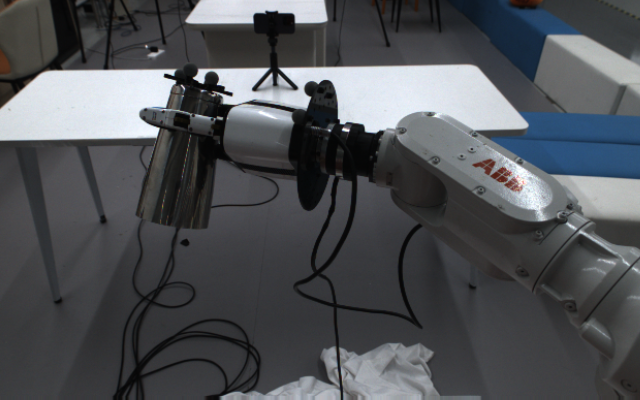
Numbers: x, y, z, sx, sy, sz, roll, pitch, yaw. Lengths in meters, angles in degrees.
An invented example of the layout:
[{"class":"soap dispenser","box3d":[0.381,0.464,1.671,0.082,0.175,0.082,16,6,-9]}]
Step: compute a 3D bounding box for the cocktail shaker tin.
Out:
[{"class":"cocktail shaker tin","box3d":[-0.173,-0.058,0.625,0.093,0.170,0.093,13,3,-1]}]
